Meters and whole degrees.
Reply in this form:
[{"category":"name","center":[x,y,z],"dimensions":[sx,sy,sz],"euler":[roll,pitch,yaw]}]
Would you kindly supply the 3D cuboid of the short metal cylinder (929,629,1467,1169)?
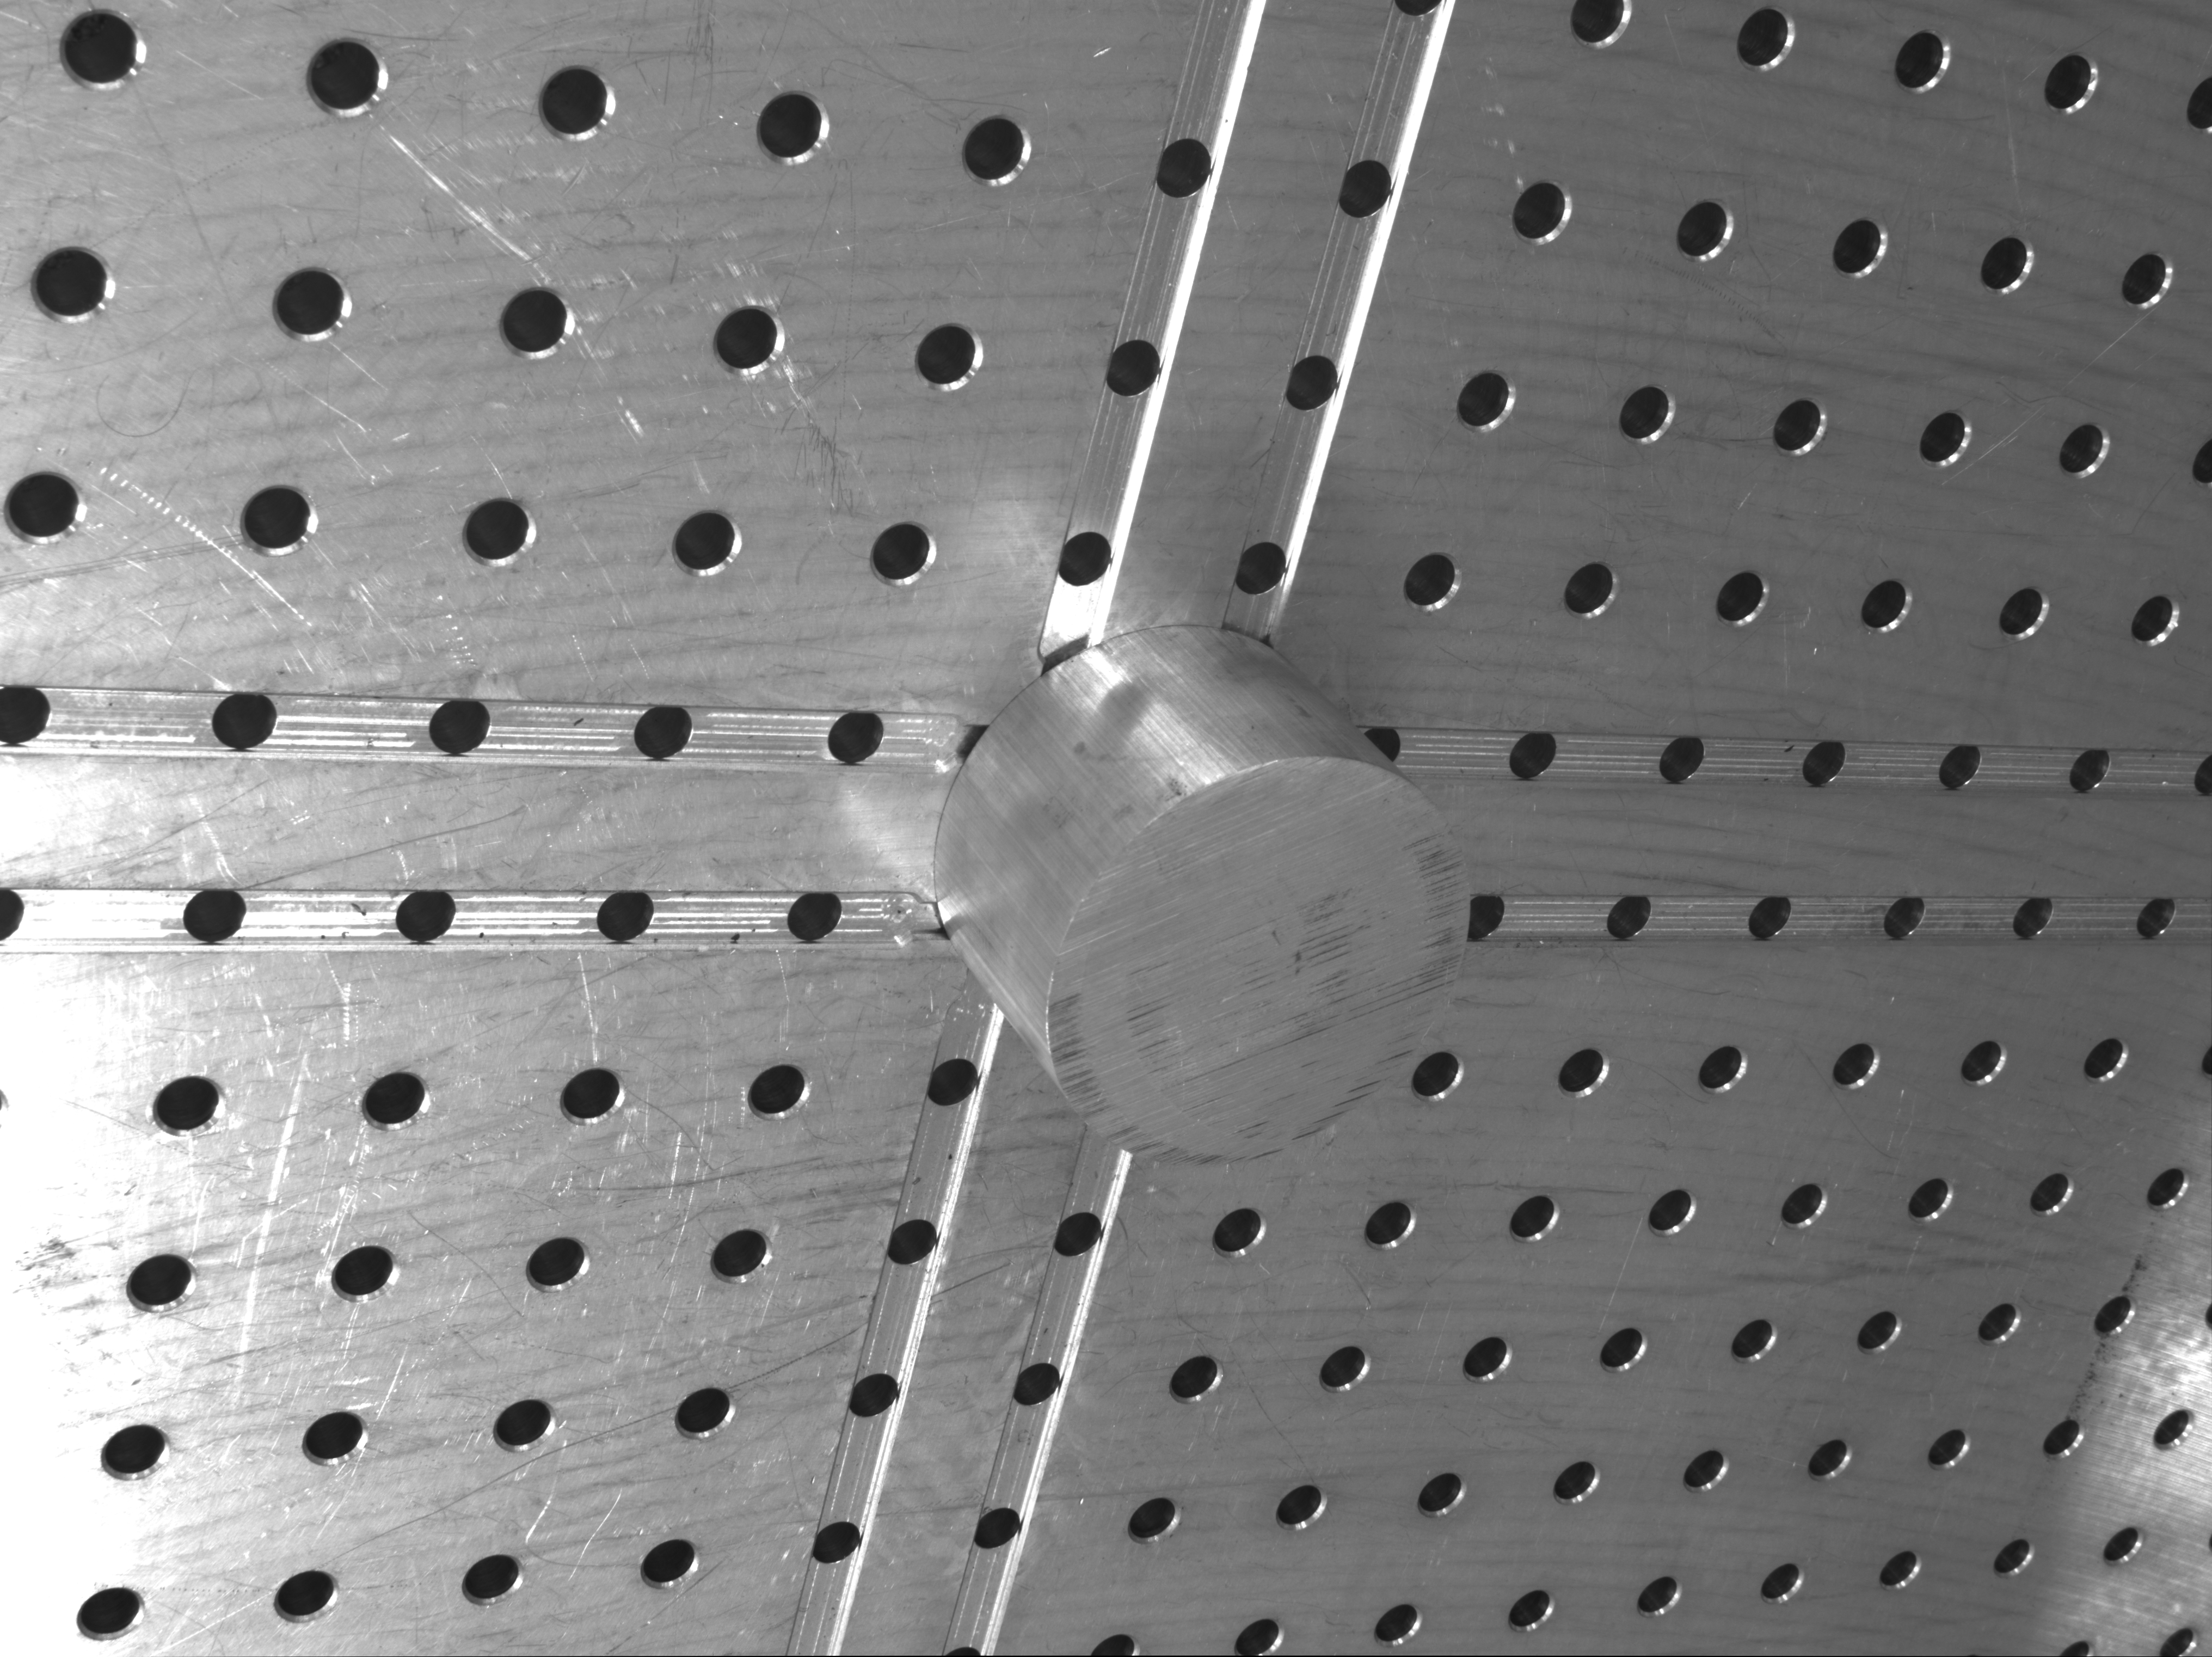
[{"category":"short metal cylinder","center":[0.016,0.012,0.640],"dimensions":[0.080,0.050,0.080],"euler":[-13,124,-21]}]
